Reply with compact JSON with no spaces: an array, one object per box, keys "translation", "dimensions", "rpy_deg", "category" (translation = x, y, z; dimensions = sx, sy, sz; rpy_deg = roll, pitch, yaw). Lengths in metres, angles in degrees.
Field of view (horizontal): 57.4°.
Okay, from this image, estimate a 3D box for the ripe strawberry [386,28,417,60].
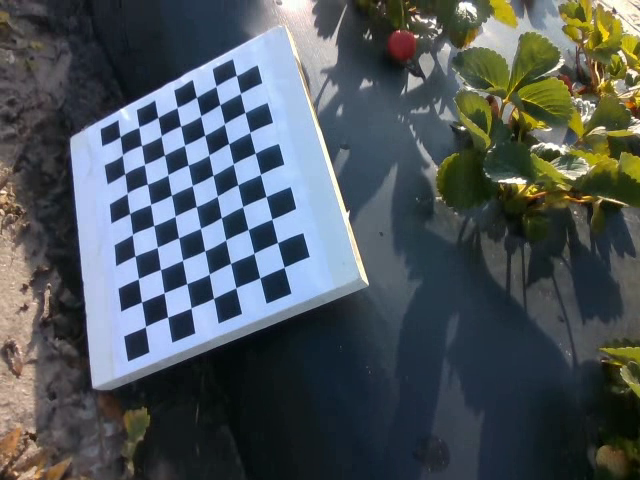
[{"translation":[0.082,-0.191,0.583],"dimensions":[0.030,0.033,0.045],"rpy_deg":[5,42,27],"category":"ripe strawberry"}]
